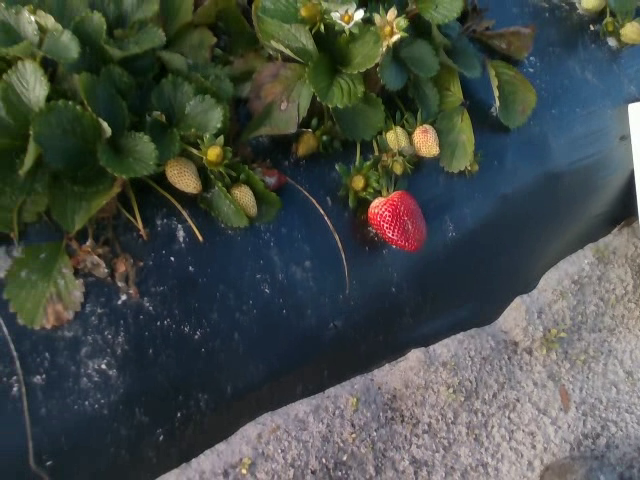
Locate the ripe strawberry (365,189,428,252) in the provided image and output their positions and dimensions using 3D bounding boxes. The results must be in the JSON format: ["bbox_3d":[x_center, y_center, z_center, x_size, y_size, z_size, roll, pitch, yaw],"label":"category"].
[{"bbox_3d":[0.080,-0.018,0.618,0.052,0.068,0.045,-20,-30,-25],"label":"ripe strawberry"}]
